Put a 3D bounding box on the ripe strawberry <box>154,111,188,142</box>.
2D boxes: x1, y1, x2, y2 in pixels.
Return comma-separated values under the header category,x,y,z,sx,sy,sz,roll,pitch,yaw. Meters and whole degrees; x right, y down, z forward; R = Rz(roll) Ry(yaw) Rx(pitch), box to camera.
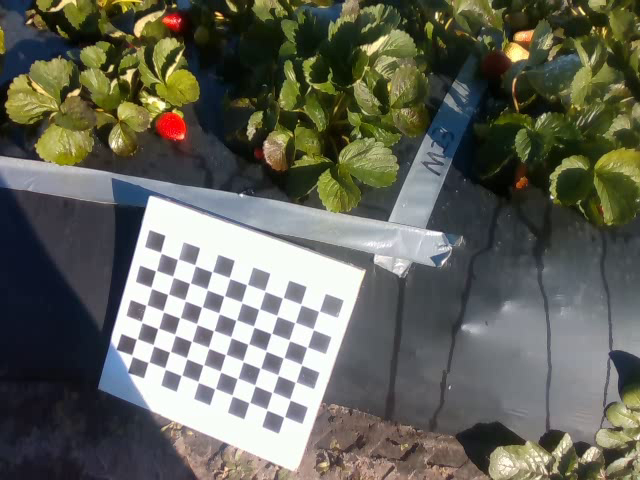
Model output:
category,x,y,z,sx,sy,sz,roll,pitch,yaw
ripe strawberry,-0.206,-0.156,0.830,0.045,0.059,0.042,-45,-23,11
